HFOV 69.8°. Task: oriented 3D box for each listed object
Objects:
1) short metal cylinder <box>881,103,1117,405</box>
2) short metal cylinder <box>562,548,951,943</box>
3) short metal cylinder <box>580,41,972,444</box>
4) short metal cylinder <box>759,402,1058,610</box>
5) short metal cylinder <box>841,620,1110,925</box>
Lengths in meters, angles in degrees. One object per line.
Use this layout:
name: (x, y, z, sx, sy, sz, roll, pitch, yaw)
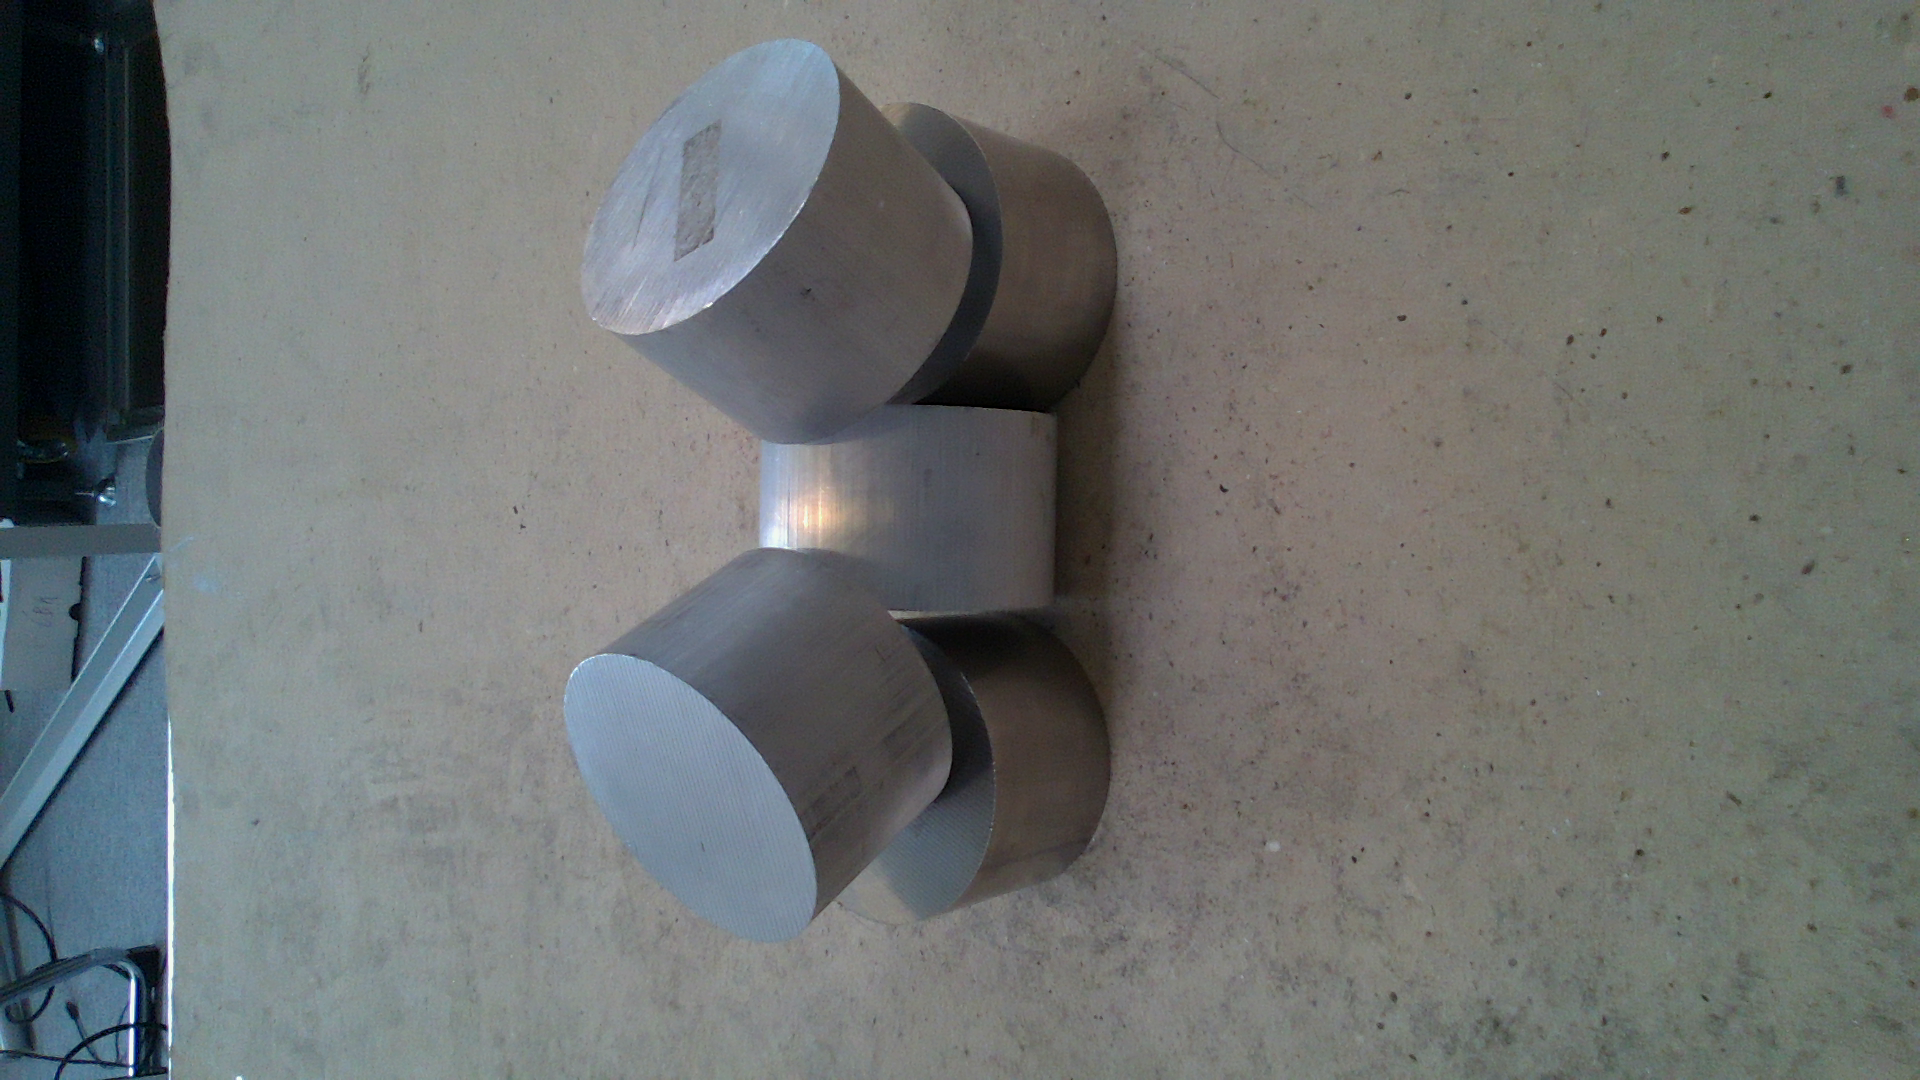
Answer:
short metal cylinder: (-0.004, -0.075, 0.382, 0.080, 0.050, 0.080, 0, 90, 40)
short metal cylinder: (-0.049, 0.049, 0.333, 0.080, 0.050, 0.080, 22, 131, 29)
short metal cylinder: (-0.044, -0.070, 0.331, 0.080, 0.050, 0.080, -20, 53, 29)
short metal cylinder: (-0.014, -0.009, 0.371, 0.080, 0.080, 0.050, 2, 91, 40)
short metal cylinder: (-0.006, 0.061, 0.384, 0.080, 0.050, 0.080, 0, 90, 40)
